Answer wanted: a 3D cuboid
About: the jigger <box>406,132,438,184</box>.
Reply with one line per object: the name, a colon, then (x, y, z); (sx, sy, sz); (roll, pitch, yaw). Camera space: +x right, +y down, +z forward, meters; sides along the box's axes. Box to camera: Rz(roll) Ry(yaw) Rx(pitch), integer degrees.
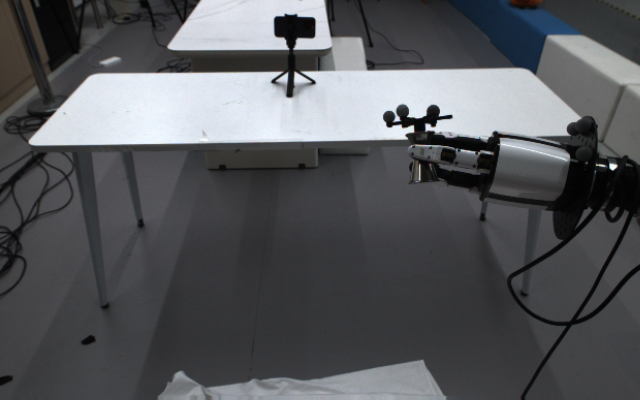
jigger: (0.138, -0.058, 0.661); (0.043, 0.071, 0.043); (-4, 1, 0)
